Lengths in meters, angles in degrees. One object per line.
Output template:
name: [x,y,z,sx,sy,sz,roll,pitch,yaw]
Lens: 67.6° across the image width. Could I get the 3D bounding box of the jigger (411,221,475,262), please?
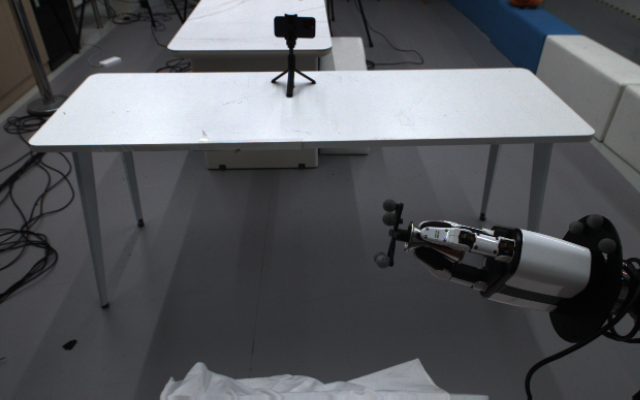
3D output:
jigger: [0.151,0.049,0.608,0.071,0.043,0.043,11,35,2]
